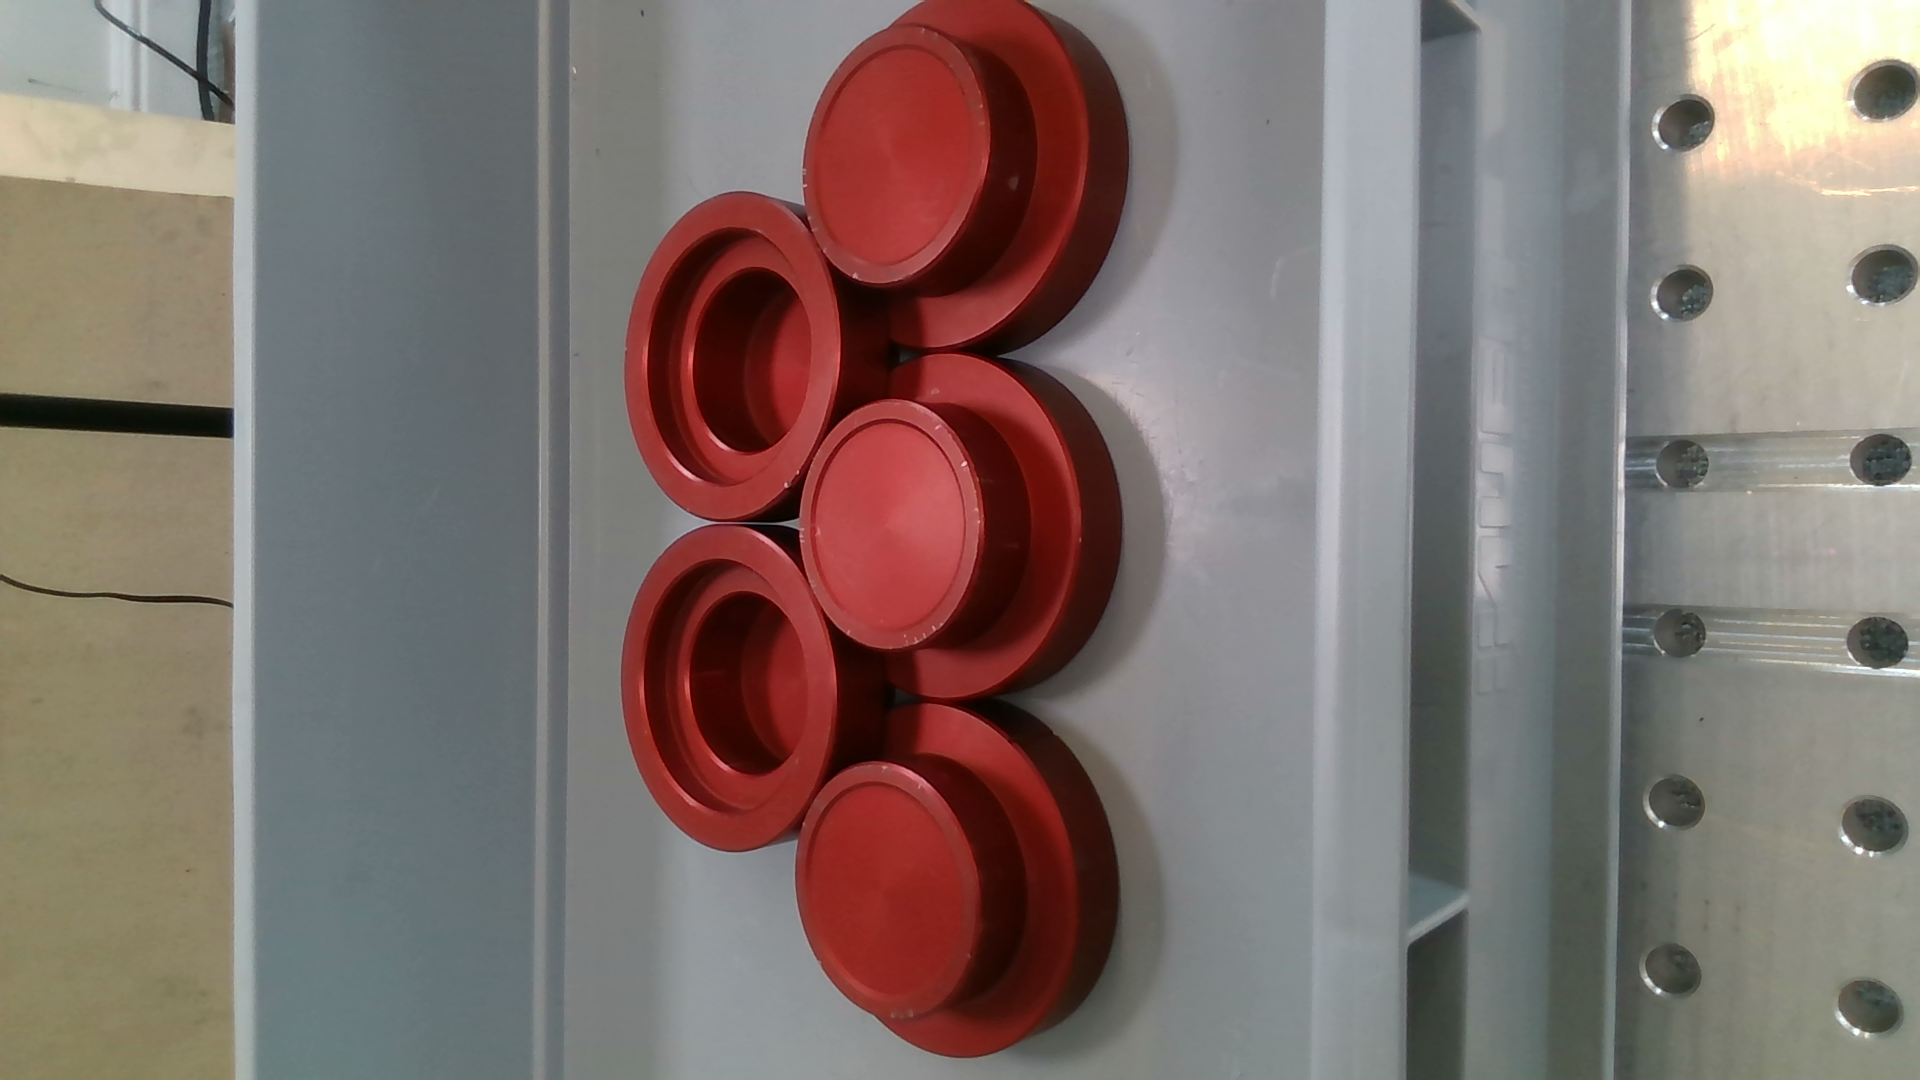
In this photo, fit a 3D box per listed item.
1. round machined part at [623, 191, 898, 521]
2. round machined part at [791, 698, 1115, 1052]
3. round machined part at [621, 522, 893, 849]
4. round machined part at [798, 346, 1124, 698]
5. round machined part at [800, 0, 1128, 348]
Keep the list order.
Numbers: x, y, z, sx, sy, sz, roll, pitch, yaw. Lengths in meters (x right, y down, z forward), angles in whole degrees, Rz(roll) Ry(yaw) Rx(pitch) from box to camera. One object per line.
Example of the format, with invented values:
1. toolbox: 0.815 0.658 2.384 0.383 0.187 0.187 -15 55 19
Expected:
1. round machined part: -0.058 -0.055 0.426 0.098 0.042 0.098 0 91 40
2. round machined part: -0.009 0.093 0.385 0.098 0.042 0.098 0 89 39
3. round machined part: -0.059 0.043 0.428 0.098 0.042 0.098 0 91 40
4. round machined part: -0.007 -0.005 0.383 0.098 0.042 0.098 0 89 39
5. round machined part: -0.006 -0.103 0.381 0.098 0.042 0.098 1 92 39
